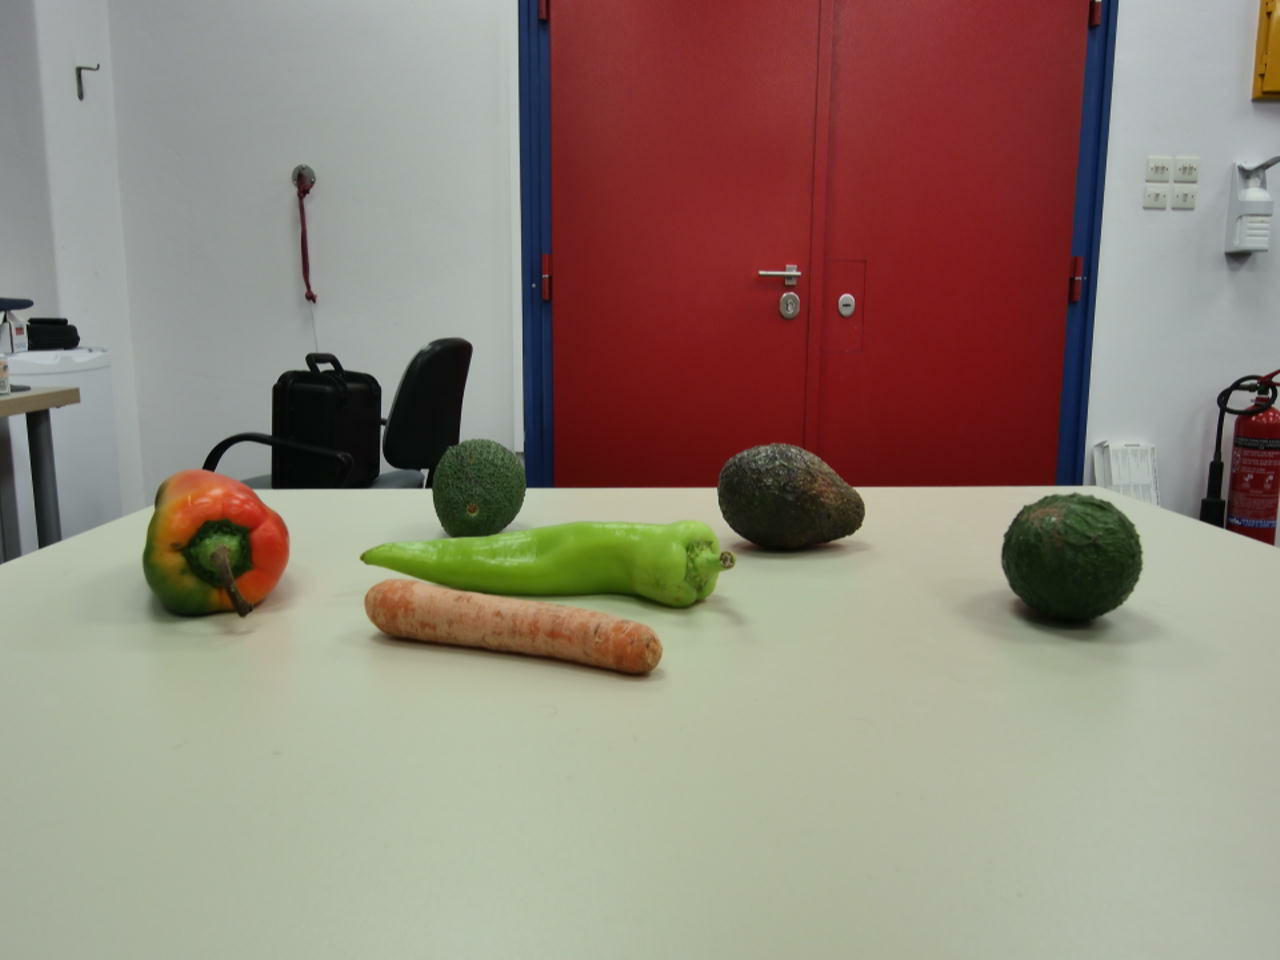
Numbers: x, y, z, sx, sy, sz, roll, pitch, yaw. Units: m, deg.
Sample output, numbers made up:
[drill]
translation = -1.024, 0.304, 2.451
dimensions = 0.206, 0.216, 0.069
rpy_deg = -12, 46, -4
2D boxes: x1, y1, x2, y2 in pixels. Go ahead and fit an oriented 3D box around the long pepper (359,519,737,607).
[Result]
[long pepper]
translation = -0.044, 0.042, 0.542
dimensions = 0.205, 0.045, 0.065
rpy_deg = 1, 7, 15
